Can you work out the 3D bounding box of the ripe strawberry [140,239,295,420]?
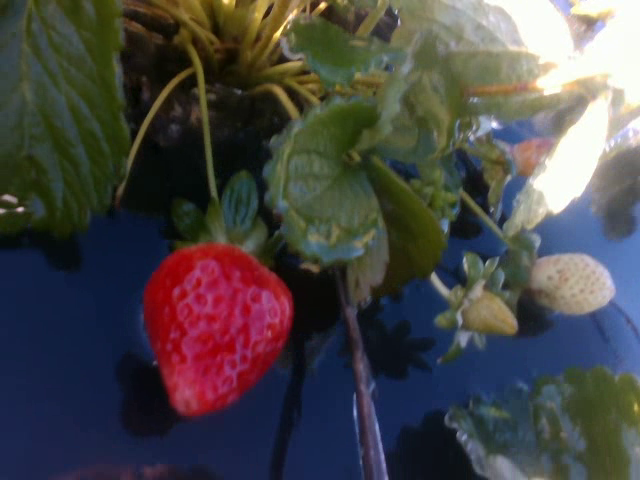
[{"bbox_3d":[-0.021,0.021,0.136,0.039,0.047,0.040,33,-40,-28],"label":"ripe strawberry"}]
